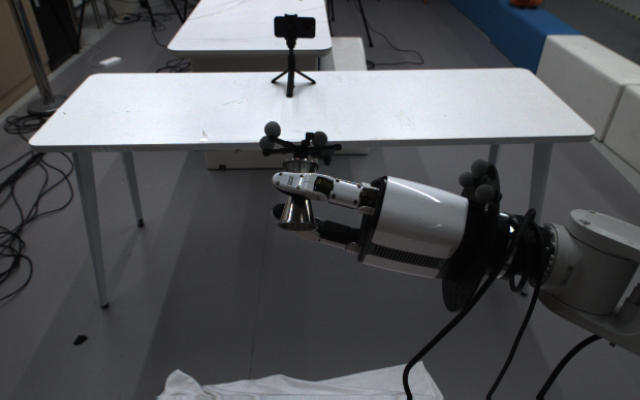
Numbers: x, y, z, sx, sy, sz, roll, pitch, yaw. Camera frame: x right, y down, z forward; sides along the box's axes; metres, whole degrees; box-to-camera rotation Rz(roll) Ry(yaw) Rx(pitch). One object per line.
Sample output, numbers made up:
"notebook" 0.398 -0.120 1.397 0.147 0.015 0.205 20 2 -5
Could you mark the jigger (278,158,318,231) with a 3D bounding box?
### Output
"jigger" -0.022 -0.005 0.507 0.043 0.043 0.071 3 76 1
